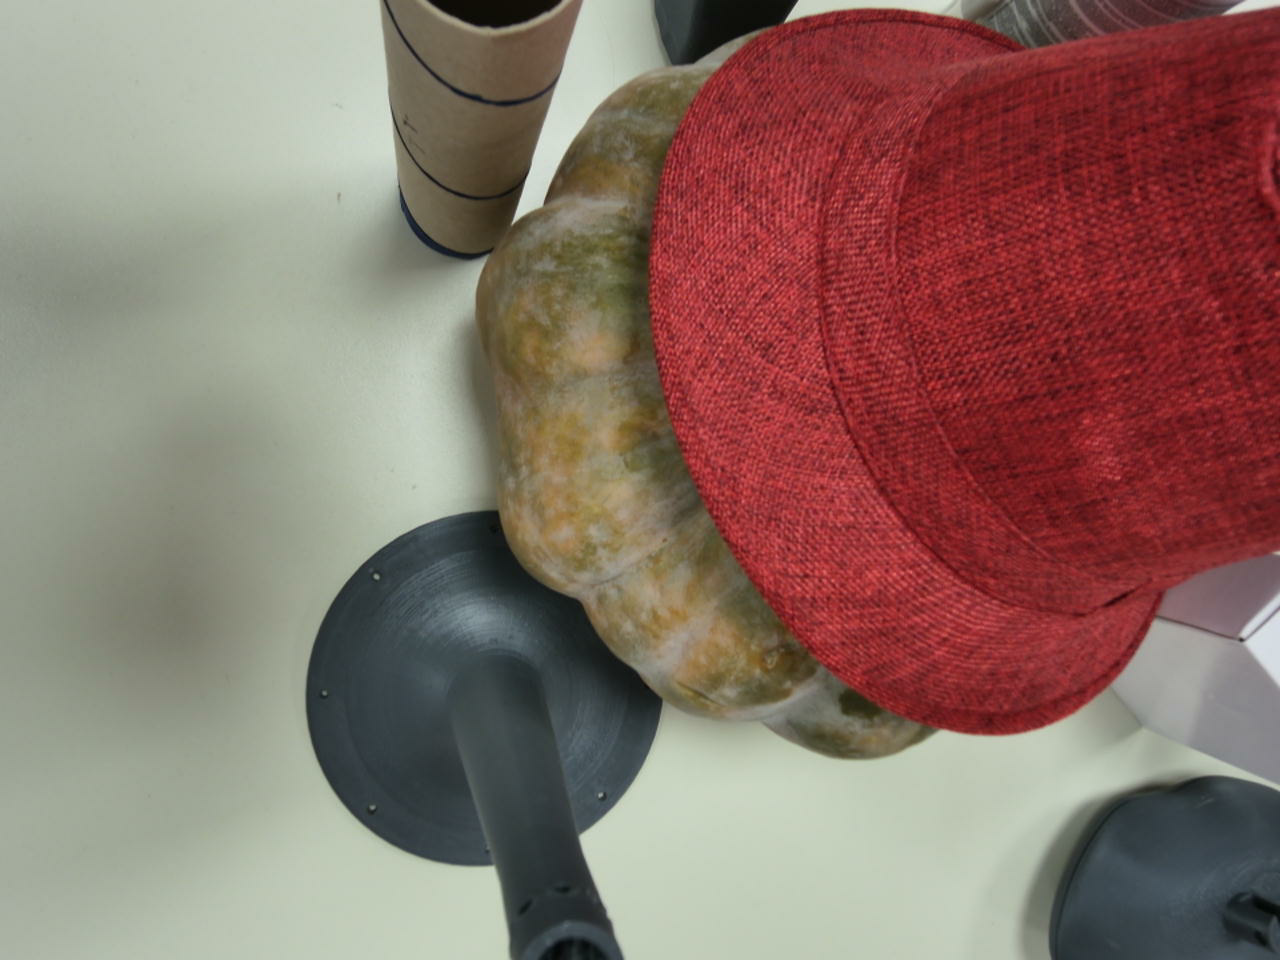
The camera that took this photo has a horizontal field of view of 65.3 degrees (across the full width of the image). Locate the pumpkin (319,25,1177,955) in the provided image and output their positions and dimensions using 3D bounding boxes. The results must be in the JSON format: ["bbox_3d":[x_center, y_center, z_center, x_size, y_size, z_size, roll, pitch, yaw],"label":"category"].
[{"bbox_3d":[0.063,-0.037,0.365,0.252,0.169,0.252,0,91,-12],"label":"pumpkin"}]
